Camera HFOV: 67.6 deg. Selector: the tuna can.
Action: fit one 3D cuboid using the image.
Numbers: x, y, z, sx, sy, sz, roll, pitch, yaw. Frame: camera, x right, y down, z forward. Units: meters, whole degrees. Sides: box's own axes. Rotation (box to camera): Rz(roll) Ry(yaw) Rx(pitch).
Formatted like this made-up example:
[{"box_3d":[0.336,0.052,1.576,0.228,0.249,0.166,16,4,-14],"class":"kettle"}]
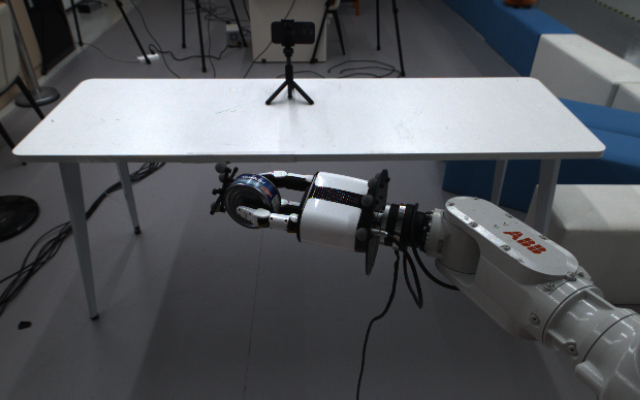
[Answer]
[{"box_3d":[-0.105,0.001,0.752,0.085,0.085,0.034,11,35,13],"class":"tuna can"}]
